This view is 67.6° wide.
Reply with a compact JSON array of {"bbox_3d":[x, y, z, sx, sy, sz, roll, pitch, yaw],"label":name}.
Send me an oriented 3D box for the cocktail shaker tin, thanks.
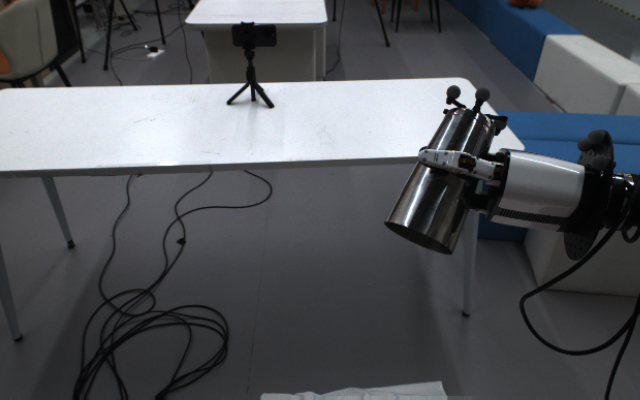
[{"bbox_3d":[0.161,-0.031,0.615,0.093,0.093,0.170,21,81,26],"label":"cocktail shaker tin"}]
